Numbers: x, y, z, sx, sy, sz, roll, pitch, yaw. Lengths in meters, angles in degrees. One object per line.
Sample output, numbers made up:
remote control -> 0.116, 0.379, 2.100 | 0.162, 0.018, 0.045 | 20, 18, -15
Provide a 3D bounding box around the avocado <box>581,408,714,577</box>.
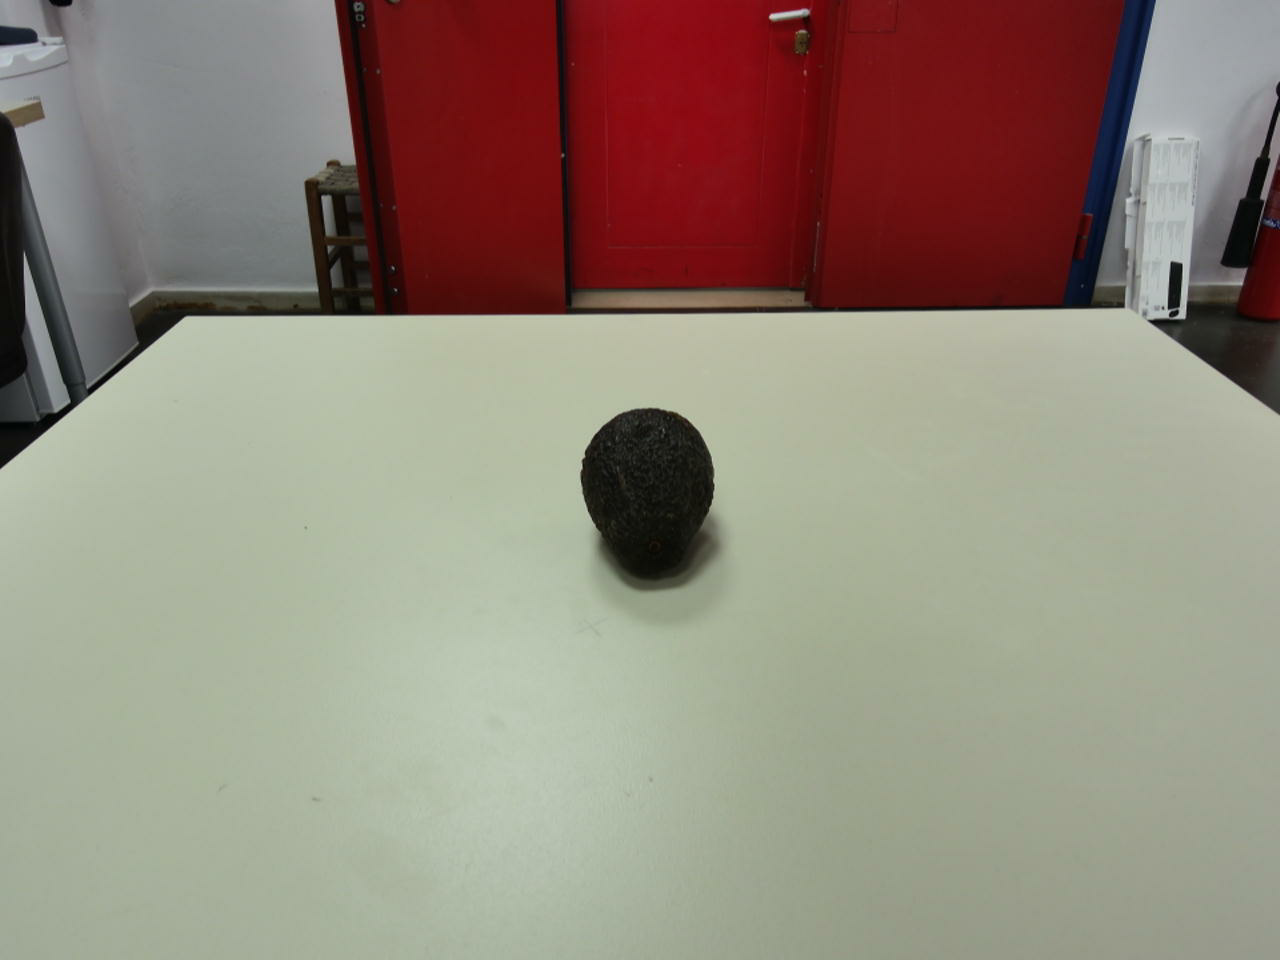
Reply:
avocado -> 0.002, 0.001, 0.512 | 0.070, 0.069, 0.090 | 11, 28, 22
